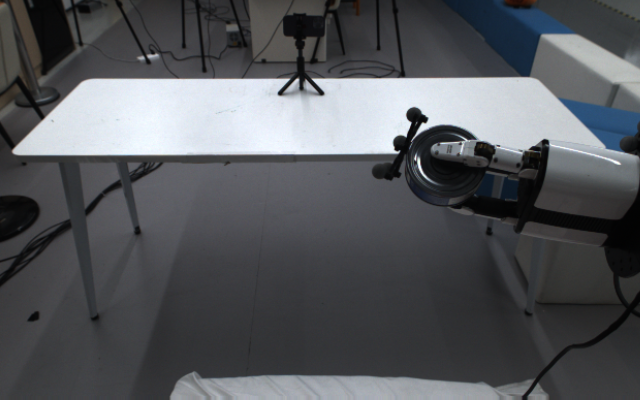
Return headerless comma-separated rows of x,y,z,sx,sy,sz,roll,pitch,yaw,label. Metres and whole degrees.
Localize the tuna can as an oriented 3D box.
0.139,-0.040,0.531,0.085,0.034,0.085,-2,71,5,tuna can
